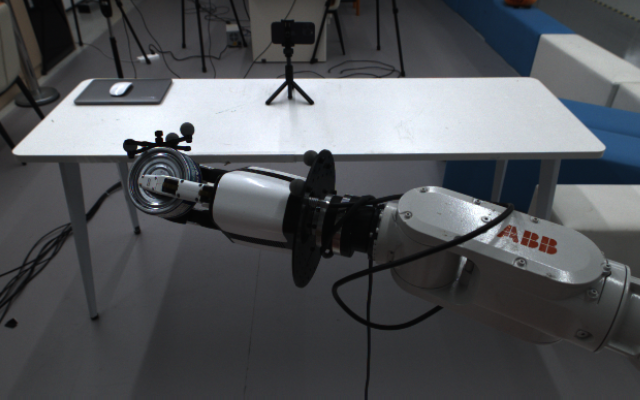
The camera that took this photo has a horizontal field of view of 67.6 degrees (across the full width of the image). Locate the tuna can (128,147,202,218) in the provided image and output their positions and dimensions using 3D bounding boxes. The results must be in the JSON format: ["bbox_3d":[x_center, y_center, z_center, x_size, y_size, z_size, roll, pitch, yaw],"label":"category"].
[{"bbox_3d":[-0.186,-0.016,0.588,0.085,0.085,0.034,12,-6,14],"label":"tuna can"}]
